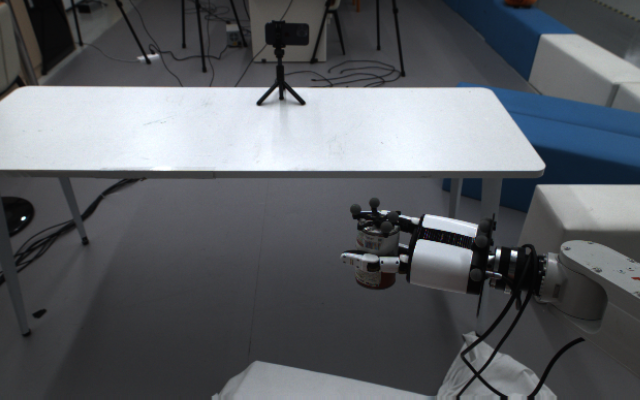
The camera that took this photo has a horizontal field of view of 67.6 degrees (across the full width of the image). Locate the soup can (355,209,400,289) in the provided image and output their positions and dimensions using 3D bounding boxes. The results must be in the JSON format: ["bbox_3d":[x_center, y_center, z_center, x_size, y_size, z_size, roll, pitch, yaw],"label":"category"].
[{"bbox_3d":[0.091,0.081,0.766,0.067,0.101,0.067,1,25,0],"label":"soup can"}]
